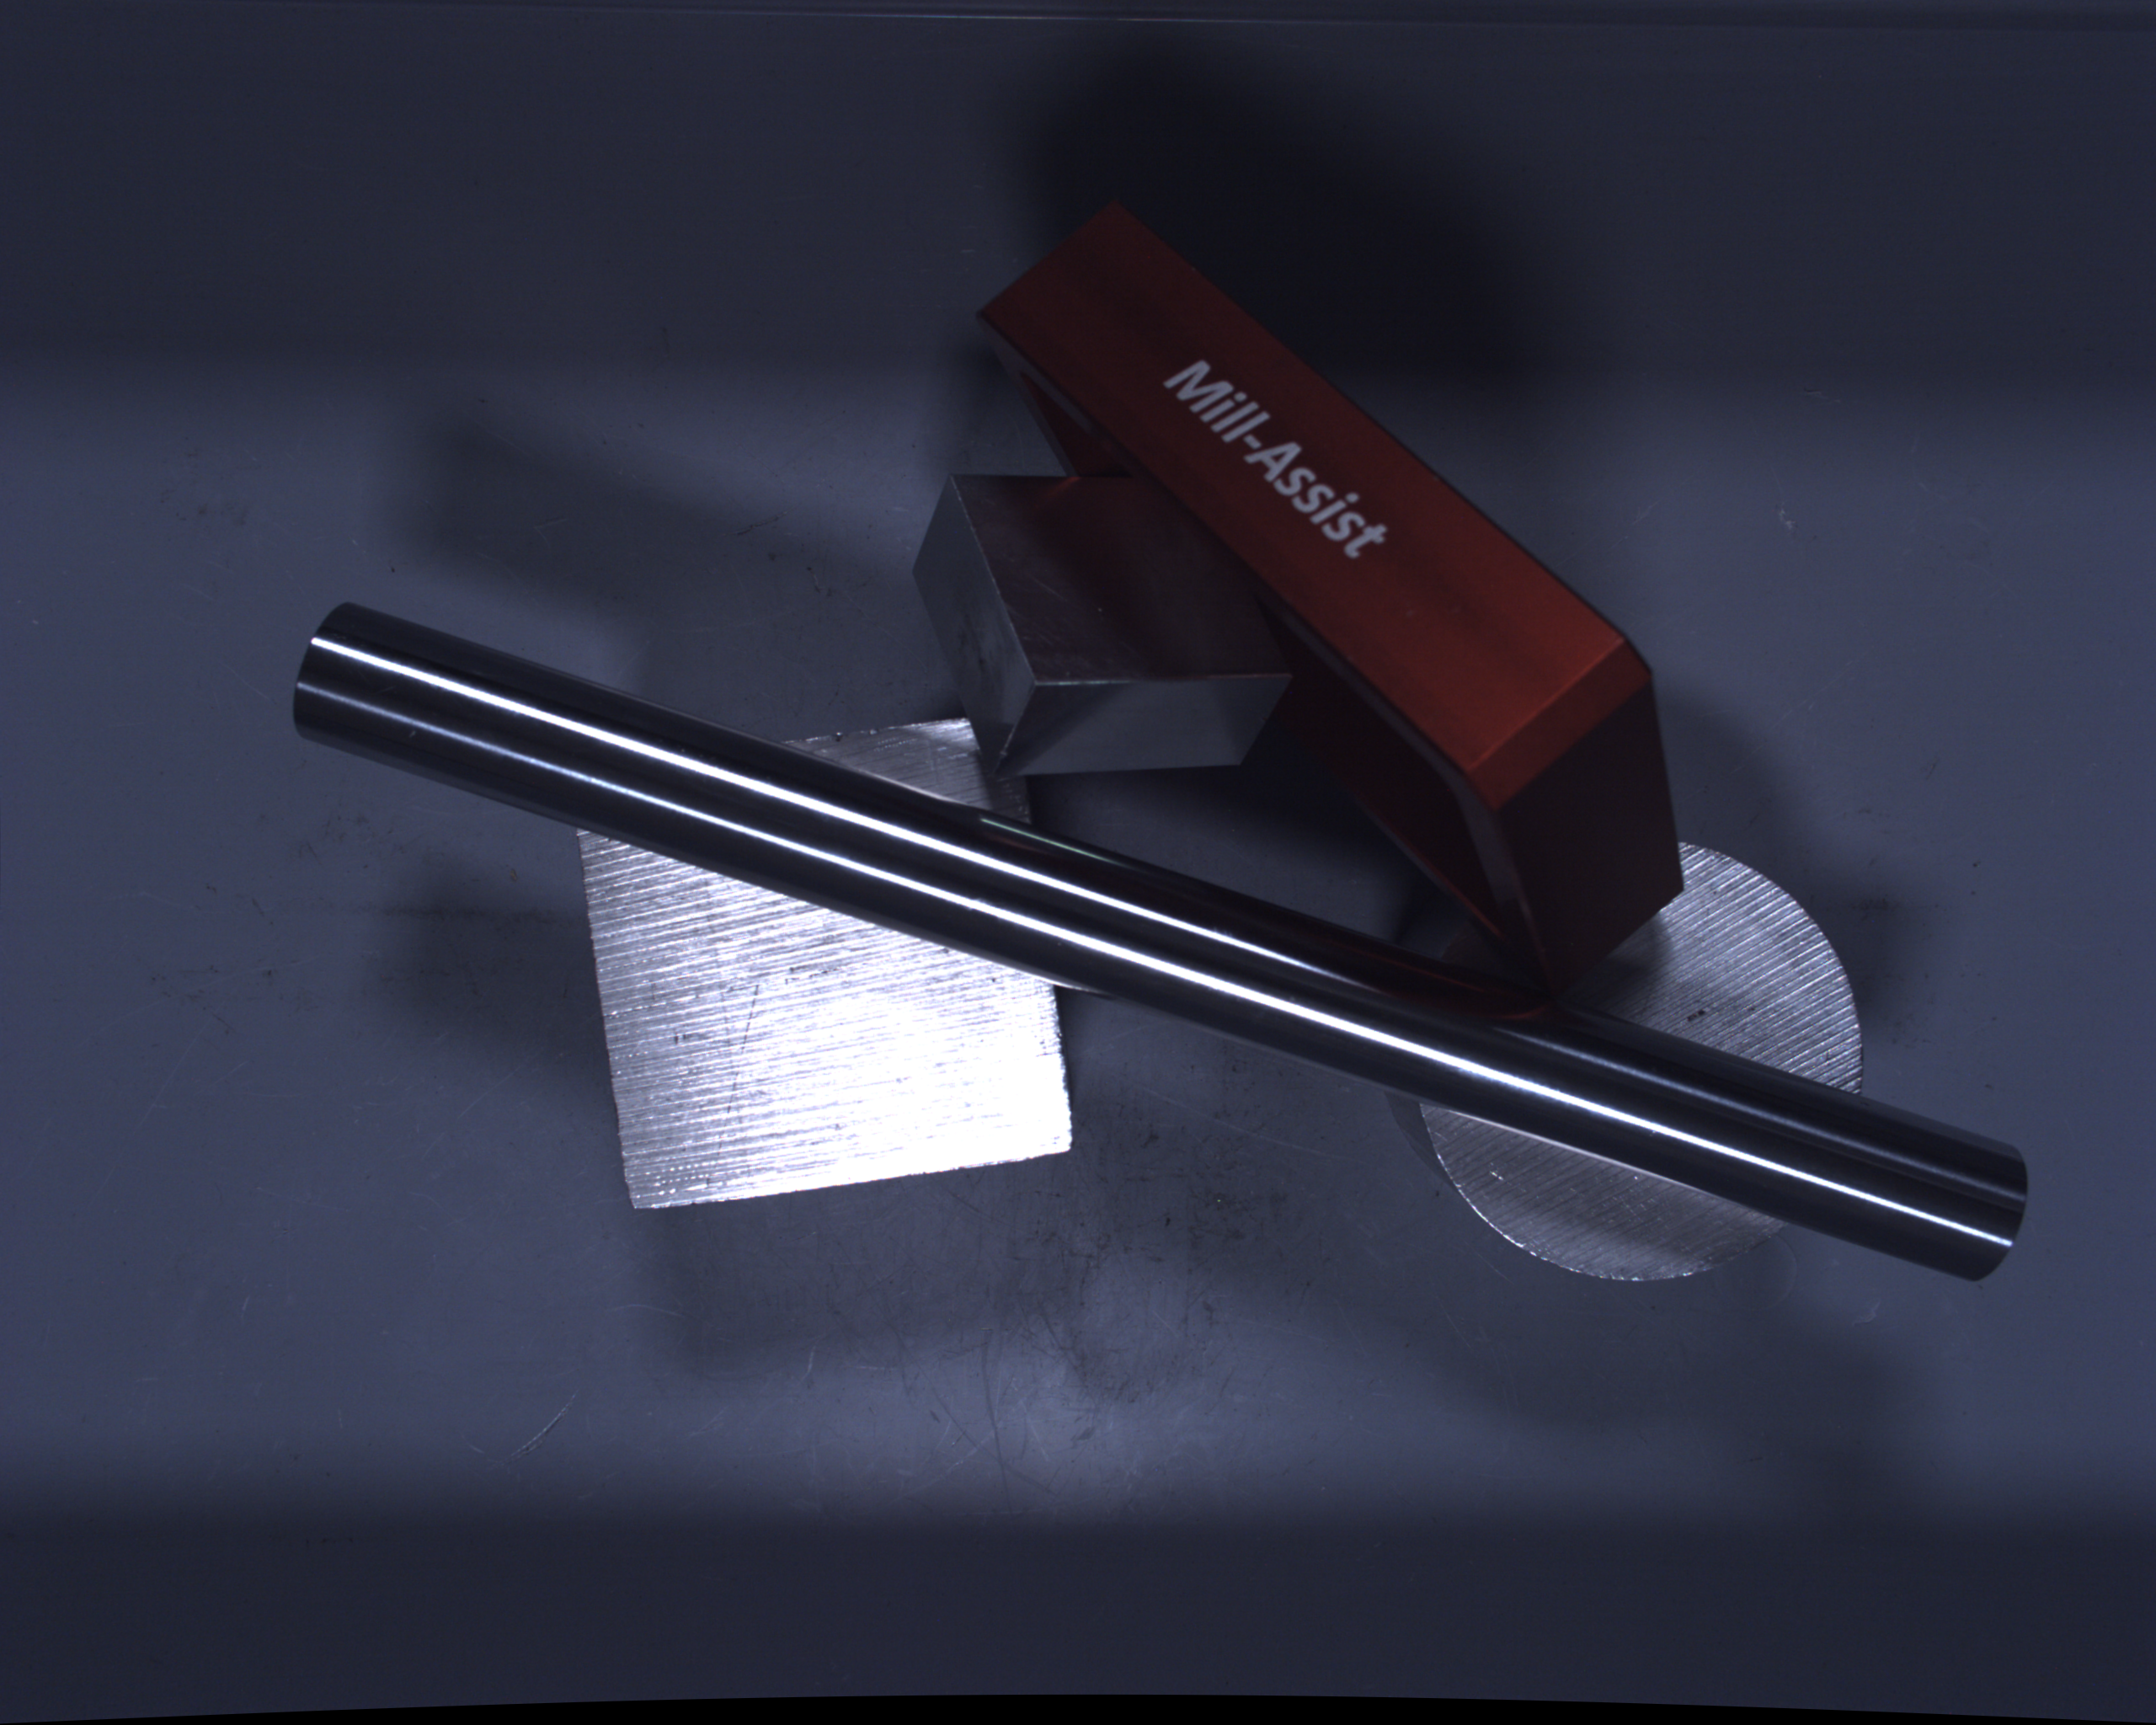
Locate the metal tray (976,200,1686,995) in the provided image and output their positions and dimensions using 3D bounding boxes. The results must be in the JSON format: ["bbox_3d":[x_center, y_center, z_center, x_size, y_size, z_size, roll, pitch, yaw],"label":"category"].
[{"bbox_3d":[0.043,-0.044,0.353,0.030,0.090,0.130,-41,61,-1],"label":"metal tray"}]

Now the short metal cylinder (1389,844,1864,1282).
[{"bbox_3d":[0.101,0.035,0.399,0.081,0.050,0.079,0,90,-1],"label":"short metal cylinder"}]

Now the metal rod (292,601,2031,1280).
[{"bbox_3d":[0.015,0.014,0.359,0.302,0.025,0.025,18,90,-1],"label":"metal rod"}]

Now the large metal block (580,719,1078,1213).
[{"bbox_3d":[-0.045,0.018,0.397,0.081,0.050,0.080,-8,90,-1],"label":"large metal block"}]

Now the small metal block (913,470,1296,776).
[{"bbox_3d":[0.004,-0.044,0.376,0.050,0.025,0.050,-4,54,-27],"label":"small metal block"}]
